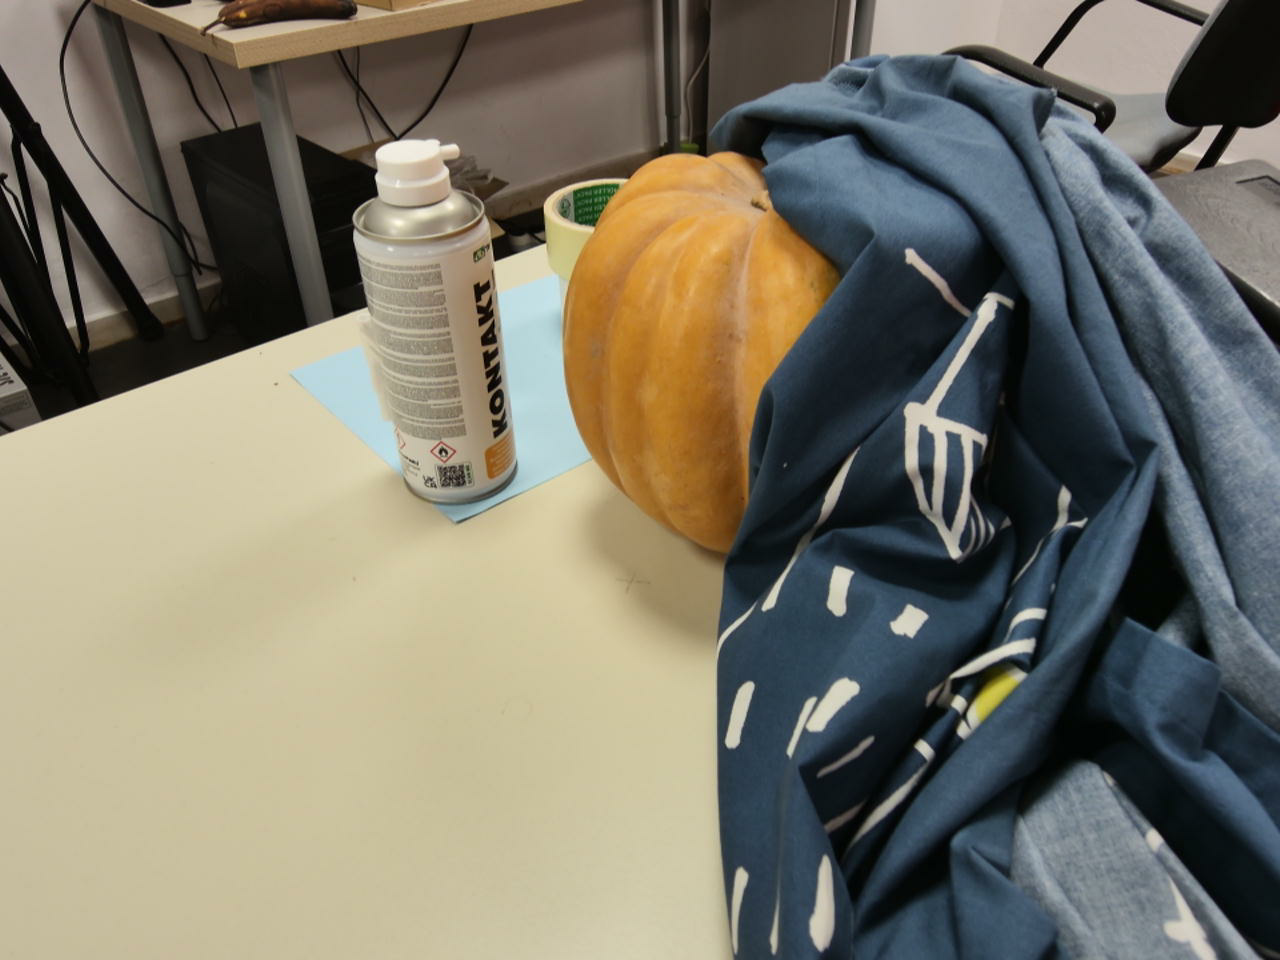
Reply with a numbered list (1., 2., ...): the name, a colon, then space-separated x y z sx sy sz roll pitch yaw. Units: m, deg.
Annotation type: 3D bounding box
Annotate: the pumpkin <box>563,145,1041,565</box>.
1. pumpkin: 0.074 -0.064 0.494 0.230 0.194 0.230 0 36 0
